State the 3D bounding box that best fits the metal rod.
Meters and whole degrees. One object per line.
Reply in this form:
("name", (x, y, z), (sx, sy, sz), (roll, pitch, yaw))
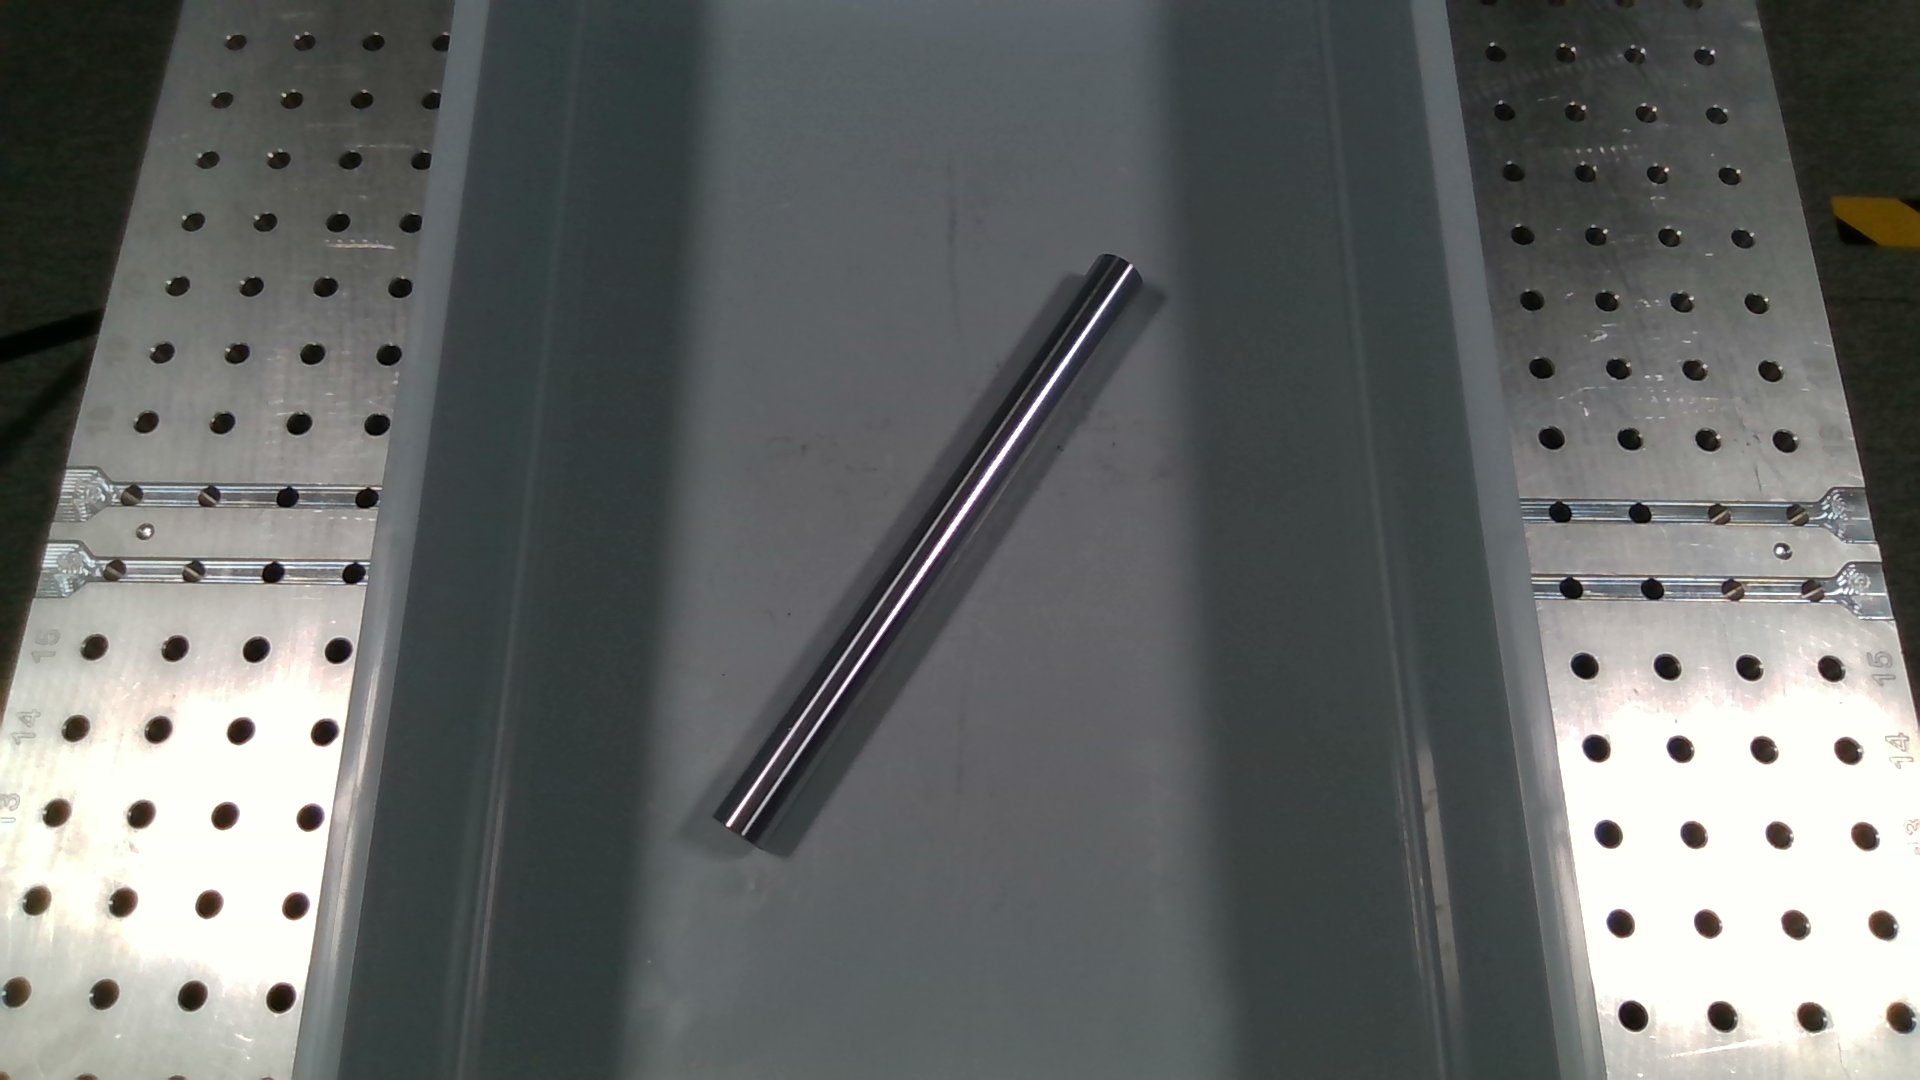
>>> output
("metal rod", (-0.008, -0.004, 0.588), (0.025, 0.025, 0.300), (31, 73, 11))
